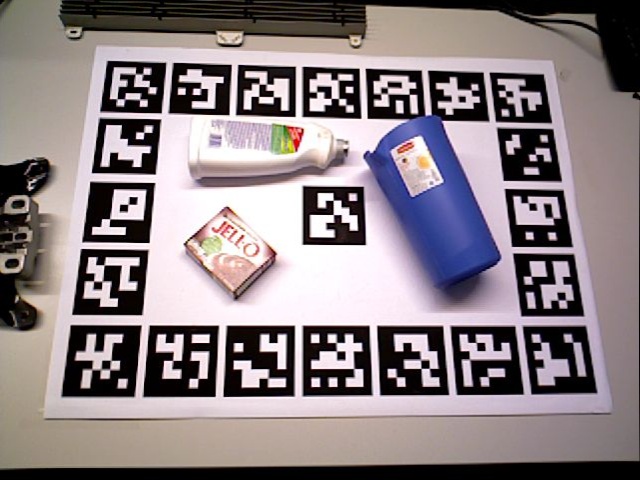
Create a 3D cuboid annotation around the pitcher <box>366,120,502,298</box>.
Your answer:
[{"bbox_3d":[0.184,-0.045,0.818,0.184,0.136,0.242,-15,76,-45],"label":"pitcher"}]

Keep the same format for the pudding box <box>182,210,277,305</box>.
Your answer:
[{"bbox_3d":[-0.134,0.026,0.801,0.114,0.039,0.088,44,69,8],"label":"pudding box"}]

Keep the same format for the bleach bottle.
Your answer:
[{"bbox_3d":[-0.078,-0.141,0.849,0.249,0.069,0.102,-2,77,-6],"label":"bleach bottle"}]
